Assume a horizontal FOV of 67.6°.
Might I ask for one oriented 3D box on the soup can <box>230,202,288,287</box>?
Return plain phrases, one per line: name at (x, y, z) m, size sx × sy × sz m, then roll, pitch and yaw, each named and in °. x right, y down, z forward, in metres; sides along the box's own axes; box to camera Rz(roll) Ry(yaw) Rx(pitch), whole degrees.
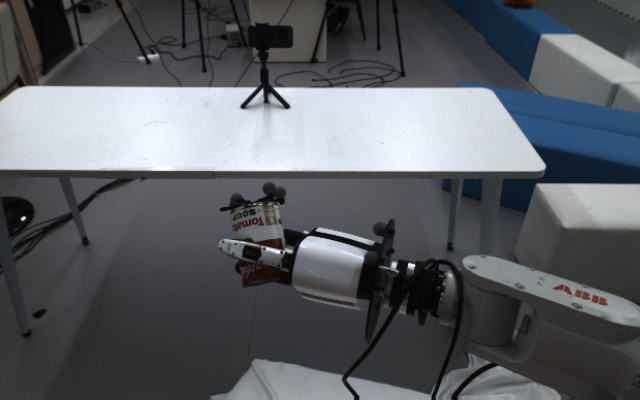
soup can at (-0.077, 0.061, 0.645) m, size 0.067 × 0.067 × 0.101 m, roll -10°, pitch 80°, yaw -16°
